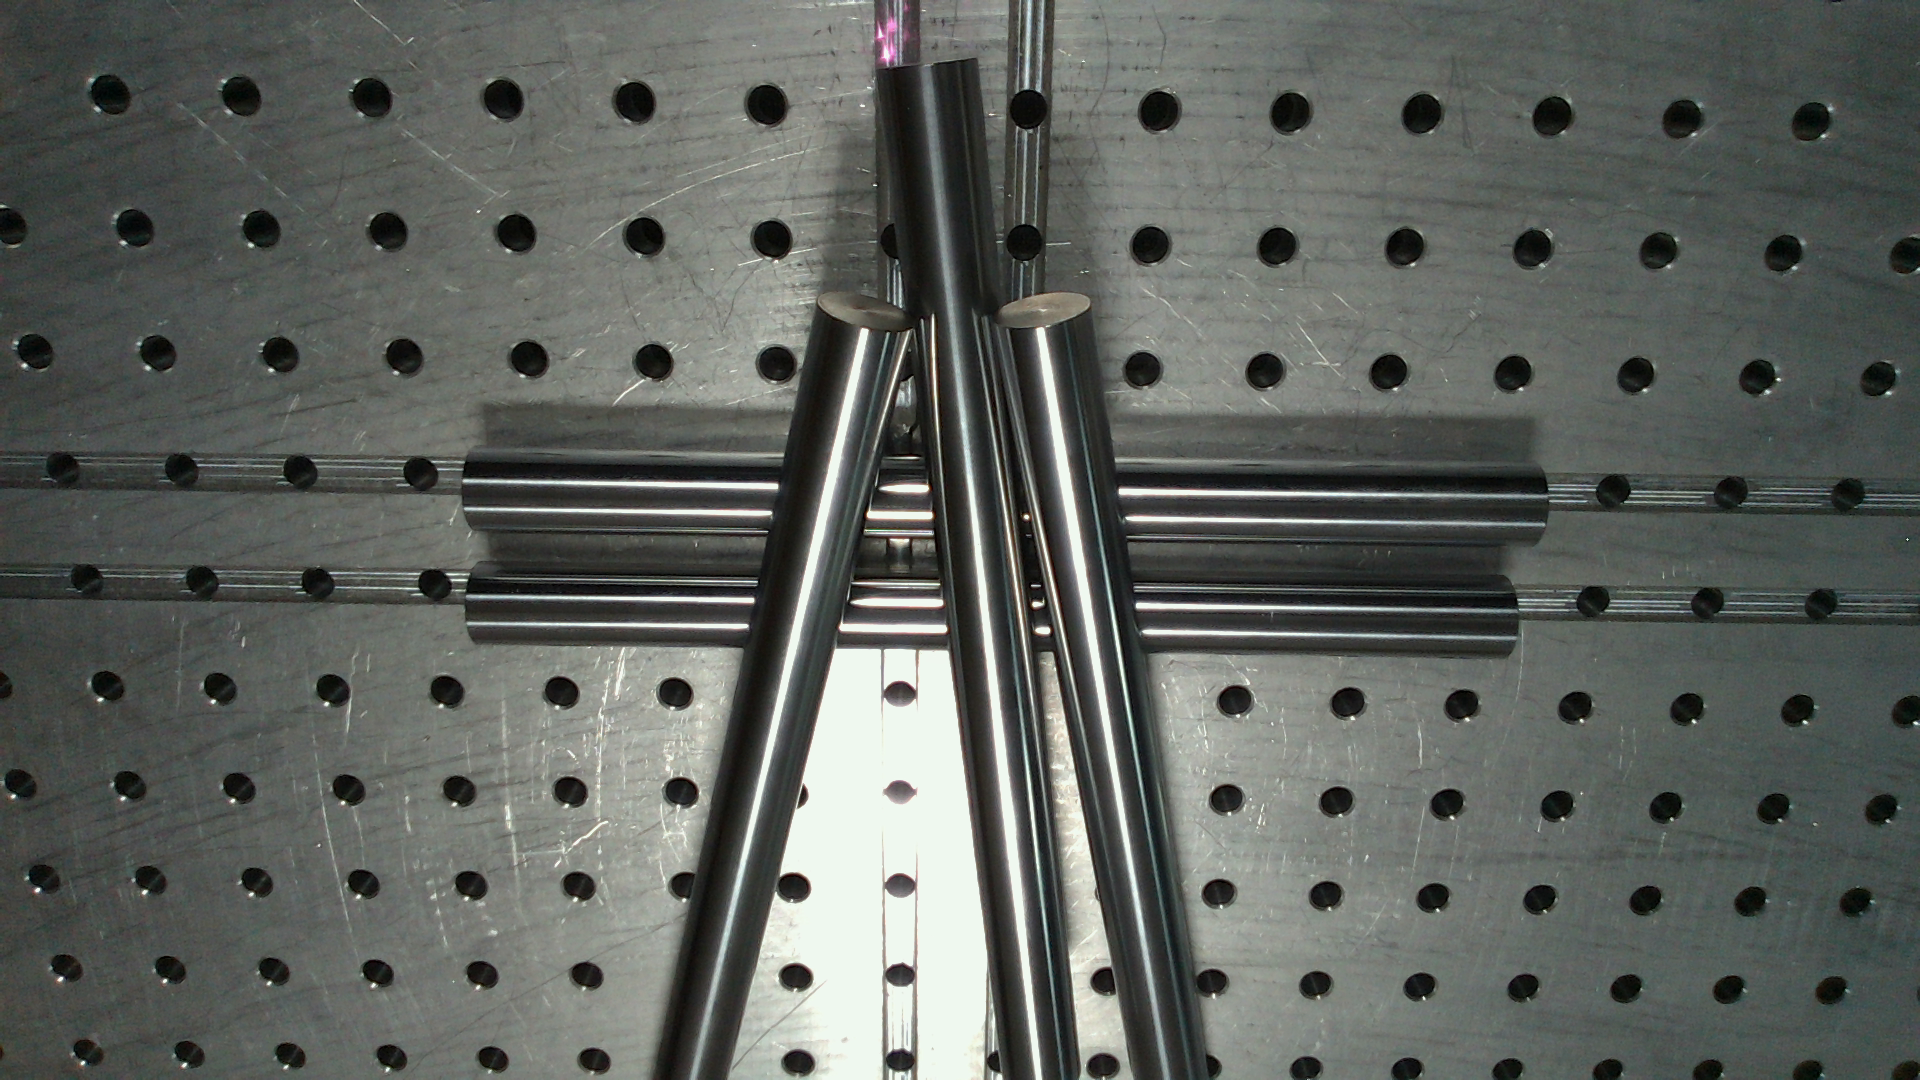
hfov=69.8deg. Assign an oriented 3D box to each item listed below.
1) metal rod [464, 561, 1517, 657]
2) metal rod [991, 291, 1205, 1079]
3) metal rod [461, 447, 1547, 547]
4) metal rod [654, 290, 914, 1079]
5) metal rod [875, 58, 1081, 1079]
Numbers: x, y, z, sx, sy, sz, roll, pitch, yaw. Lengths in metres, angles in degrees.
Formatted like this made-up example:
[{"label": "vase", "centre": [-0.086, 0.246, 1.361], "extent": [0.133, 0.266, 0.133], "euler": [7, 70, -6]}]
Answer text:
[{"label": "metal rod", "centre": [0.009, 0.020, 0.404], "extent": [0.300, 0.025, 0.025], "euler": [1, 110, -1]}, {"label": "metal rod", "centre": [0.048, 0.074, 0.404], "extent": [0.025, 0.025, 0.300], "euler": [-10, 117, 4]}, {"label": "metal rod", "centre": [0.013, -0.012, 0.392], "extent": [0.300, 0.025, 0.025], "euler": [1, 110, -1]}, {"label": "metal rod", "centre": [-0.059, 0.073, 0.403], "extent": [0.025, 0.025, 0.300], "euler": [13, 117, -5]}, {"label": "metal rod", "centre": [0.009, 0.026, 0.380], "extent": [0.025, 0.025, 0.300], "euler": [-6, 110, 2]}]
